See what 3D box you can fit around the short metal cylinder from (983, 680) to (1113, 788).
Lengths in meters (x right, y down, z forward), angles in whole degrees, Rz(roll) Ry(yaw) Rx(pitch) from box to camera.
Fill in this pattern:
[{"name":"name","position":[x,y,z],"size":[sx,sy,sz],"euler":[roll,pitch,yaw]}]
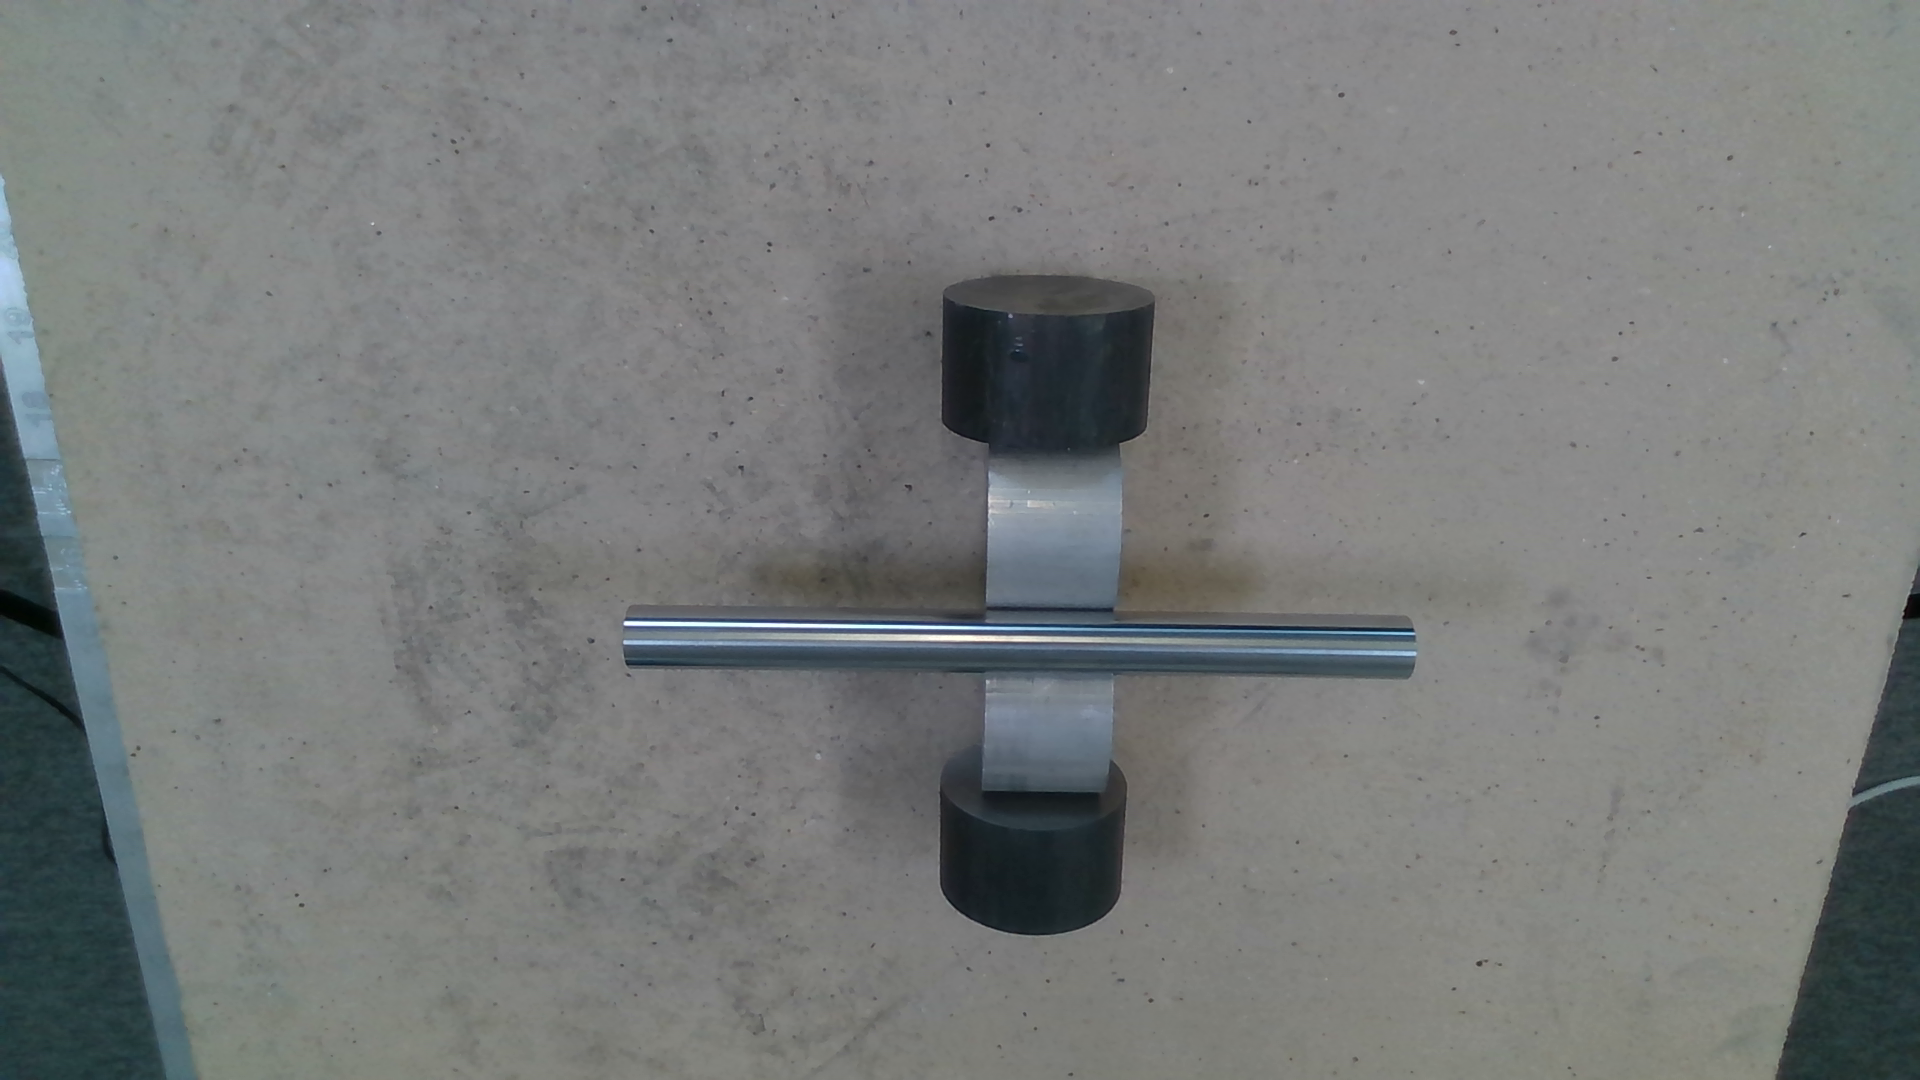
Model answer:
[{"name":"short metal cylinder","position":[0.035,0.065,0.580],"size":[0.050,0.080,0.080],"euler":[1,110,0]}]

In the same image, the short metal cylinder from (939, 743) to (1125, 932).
[{"name":"short metal cylinder","position":[0.031,0.126,0.603],"size":[0.080,0.080,0.050],"euler":[1,110,0]}]

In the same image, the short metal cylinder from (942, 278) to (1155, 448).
[{"name":"short metal cylinder","position":[0.033,-0.071,0.530],"size":[0.080,0.080,0.050],"euler":[1,110,0]}]

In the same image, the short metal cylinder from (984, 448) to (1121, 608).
[{"name":"short metal cylinder","position":[0.035,-0.010,0.552],"size":[0.050,0.080,0.080],"euler":[1,110,0]}]

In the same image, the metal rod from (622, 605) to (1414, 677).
[{"name":"metal rod","position":[0.022,0.039,0.534],"size":[0.300,0.025,0.025],"euler":[1,110,0]}]
